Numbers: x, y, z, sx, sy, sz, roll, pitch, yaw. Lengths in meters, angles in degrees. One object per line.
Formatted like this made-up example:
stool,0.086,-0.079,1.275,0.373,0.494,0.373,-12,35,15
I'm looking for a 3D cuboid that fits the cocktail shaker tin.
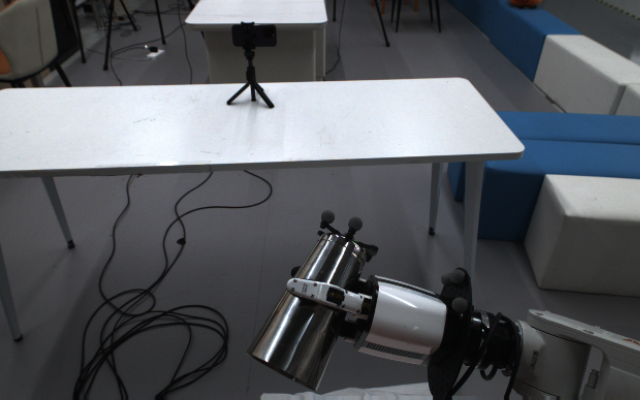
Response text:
cocktail shaker tin,-0.005,0.126,0.586,0.093,0.093,0.170,18,66,21
